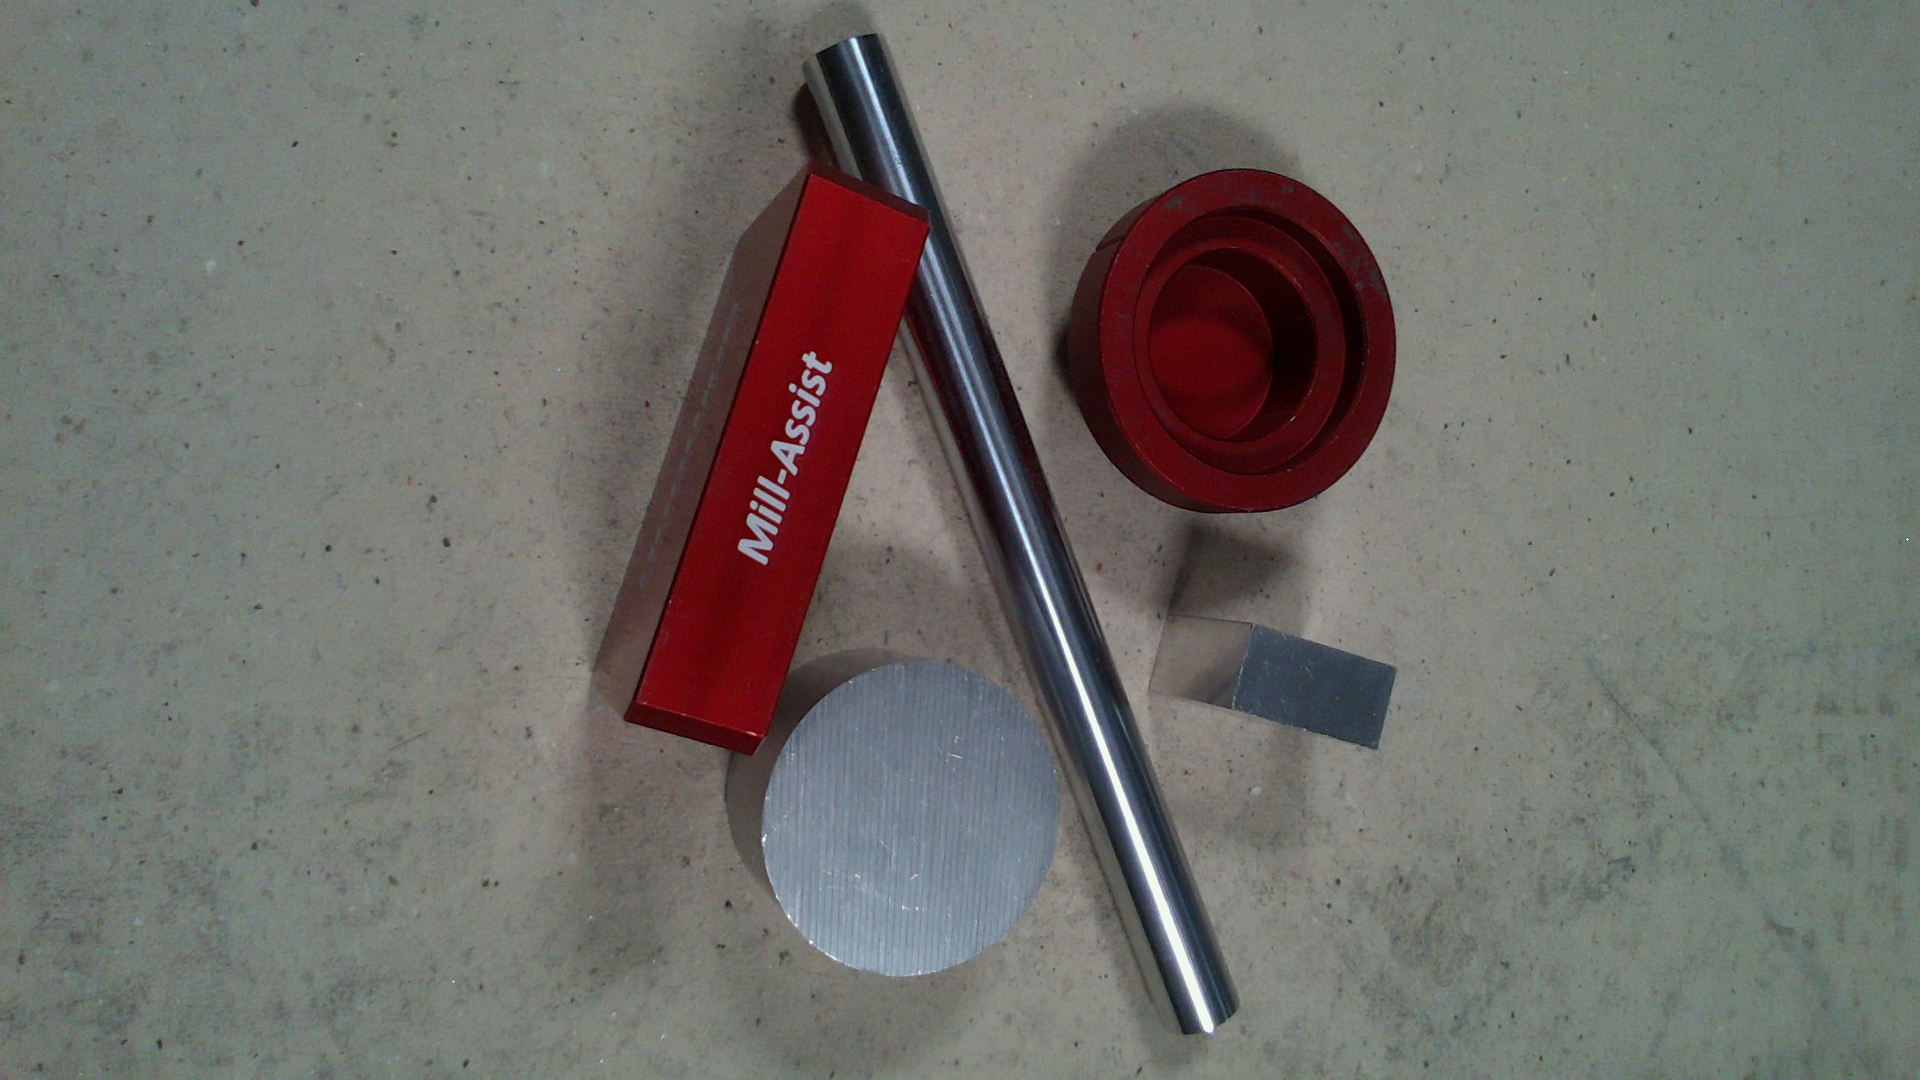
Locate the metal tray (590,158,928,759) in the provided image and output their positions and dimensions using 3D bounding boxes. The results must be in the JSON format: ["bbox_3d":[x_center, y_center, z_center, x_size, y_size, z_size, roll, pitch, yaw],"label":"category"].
[{"bbox_3d":[-0.053,-0.019,0.340,0.030,0.090,0.130,19,84,-19],"label":"metal tray"}]

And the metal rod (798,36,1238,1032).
[{"bbox_3d":[0.020,0.004,0.402,0.025,0.025,0.300,-23,98,-18],"label":"metal rod"}]

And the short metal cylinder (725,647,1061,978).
[{"bbox_3d":[-0.019,0.071,0.373,0.080,0.050,0.080,0,90,-20],"label":"short metal cylinder"}]

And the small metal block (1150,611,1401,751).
[{"bbox_3d":[0.093,0.041,0.411,0.050,0.050,0.025,18,84,-19],"label":"small metal block"}]

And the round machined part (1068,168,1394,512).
[{"bbox_3d":[0.077,-0.057,0.412,0.098,0.042,0.098,0,90,-20],"label":"round machined part"}]
